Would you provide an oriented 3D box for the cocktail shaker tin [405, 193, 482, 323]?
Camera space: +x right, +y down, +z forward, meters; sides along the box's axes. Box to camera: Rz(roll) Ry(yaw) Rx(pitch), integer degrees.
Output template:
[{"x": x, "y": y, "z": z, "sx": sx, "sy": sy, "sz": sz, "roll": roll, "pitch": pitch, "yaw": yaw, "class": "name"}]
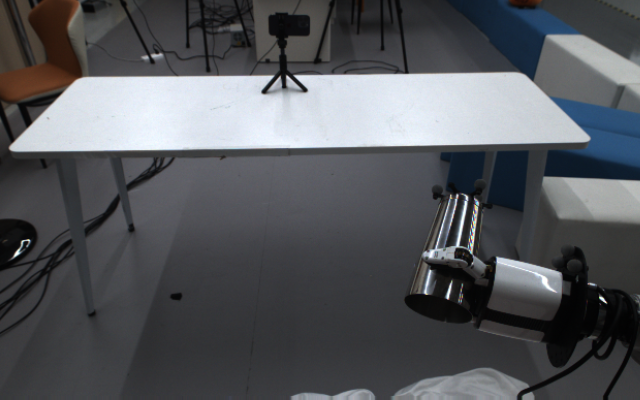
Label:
[{"x": 0.185, "y": 0.077, "z": 0.690, "sx": 0.093, "sy": 0.093, "sz": 0.170, "roll": 13, "pitch": 60, "yaw": 16, "class": "cocktail shaker tin"}]
